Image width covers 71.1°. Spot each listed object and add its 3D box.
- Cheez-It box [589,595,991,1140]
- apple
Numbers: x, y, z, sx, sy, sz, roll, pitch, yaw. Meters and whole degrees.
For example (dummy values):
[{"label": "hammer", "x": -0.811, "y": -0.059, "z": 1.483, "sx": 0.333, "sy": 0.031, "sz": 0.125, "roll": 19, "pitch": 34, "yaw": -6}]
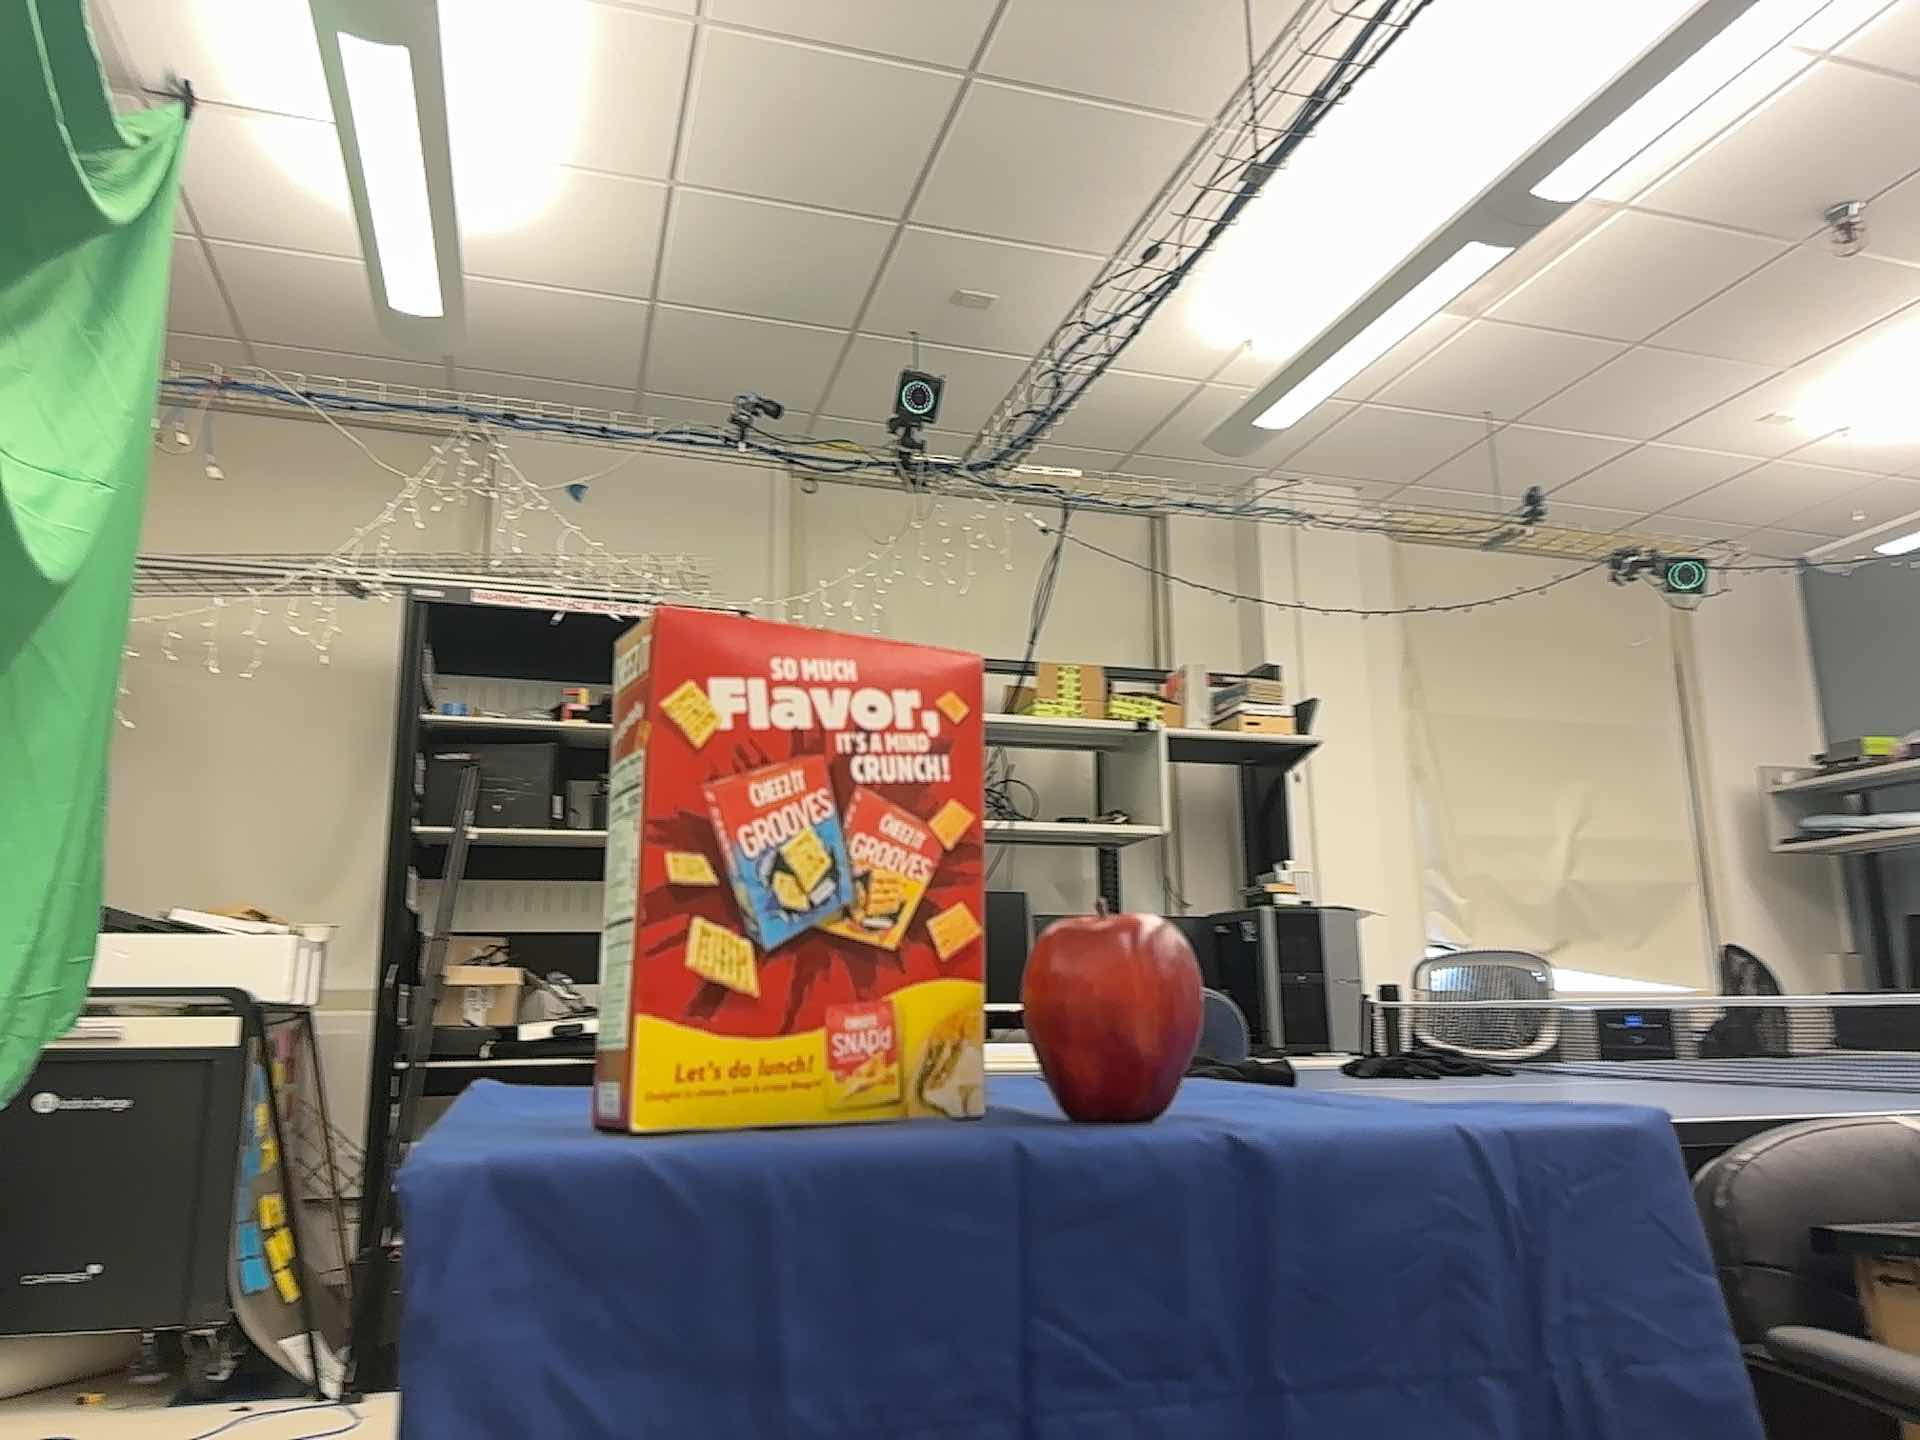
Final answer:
[{"label": "Cheez-It box", "x": -0.073, "y": 0.068, "z": 0.602, "sx": 0.159, "sy": 0.214, "sz": 0.062, "roll": 8, "pitch": -13, "yaw": -31}, {"label": "apple", "x": 0.066, "y": 0.126, "z": 0.587, "sx": 0.079, "sy": 0.093, "sz": 0.079, "roll": -1, "pitch": -10, "yaw": 0}]
